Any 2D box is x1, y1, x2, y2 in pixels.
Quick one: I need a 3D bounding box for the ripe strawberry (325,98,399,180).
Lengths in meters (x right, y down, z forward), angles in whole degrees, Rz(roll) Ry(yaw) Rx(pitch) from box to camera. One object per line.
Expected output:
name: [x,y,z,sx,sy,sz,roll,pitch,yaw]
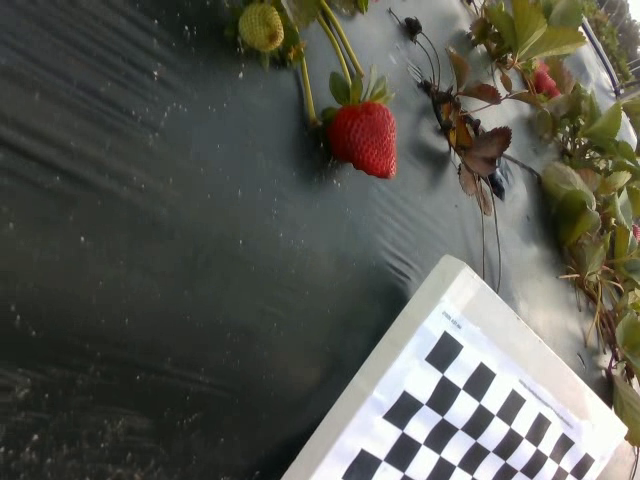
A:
ripe strawberry: [0.027,-0.053,0.335,0.045,0.055,0.042,-15,-39,-21]
